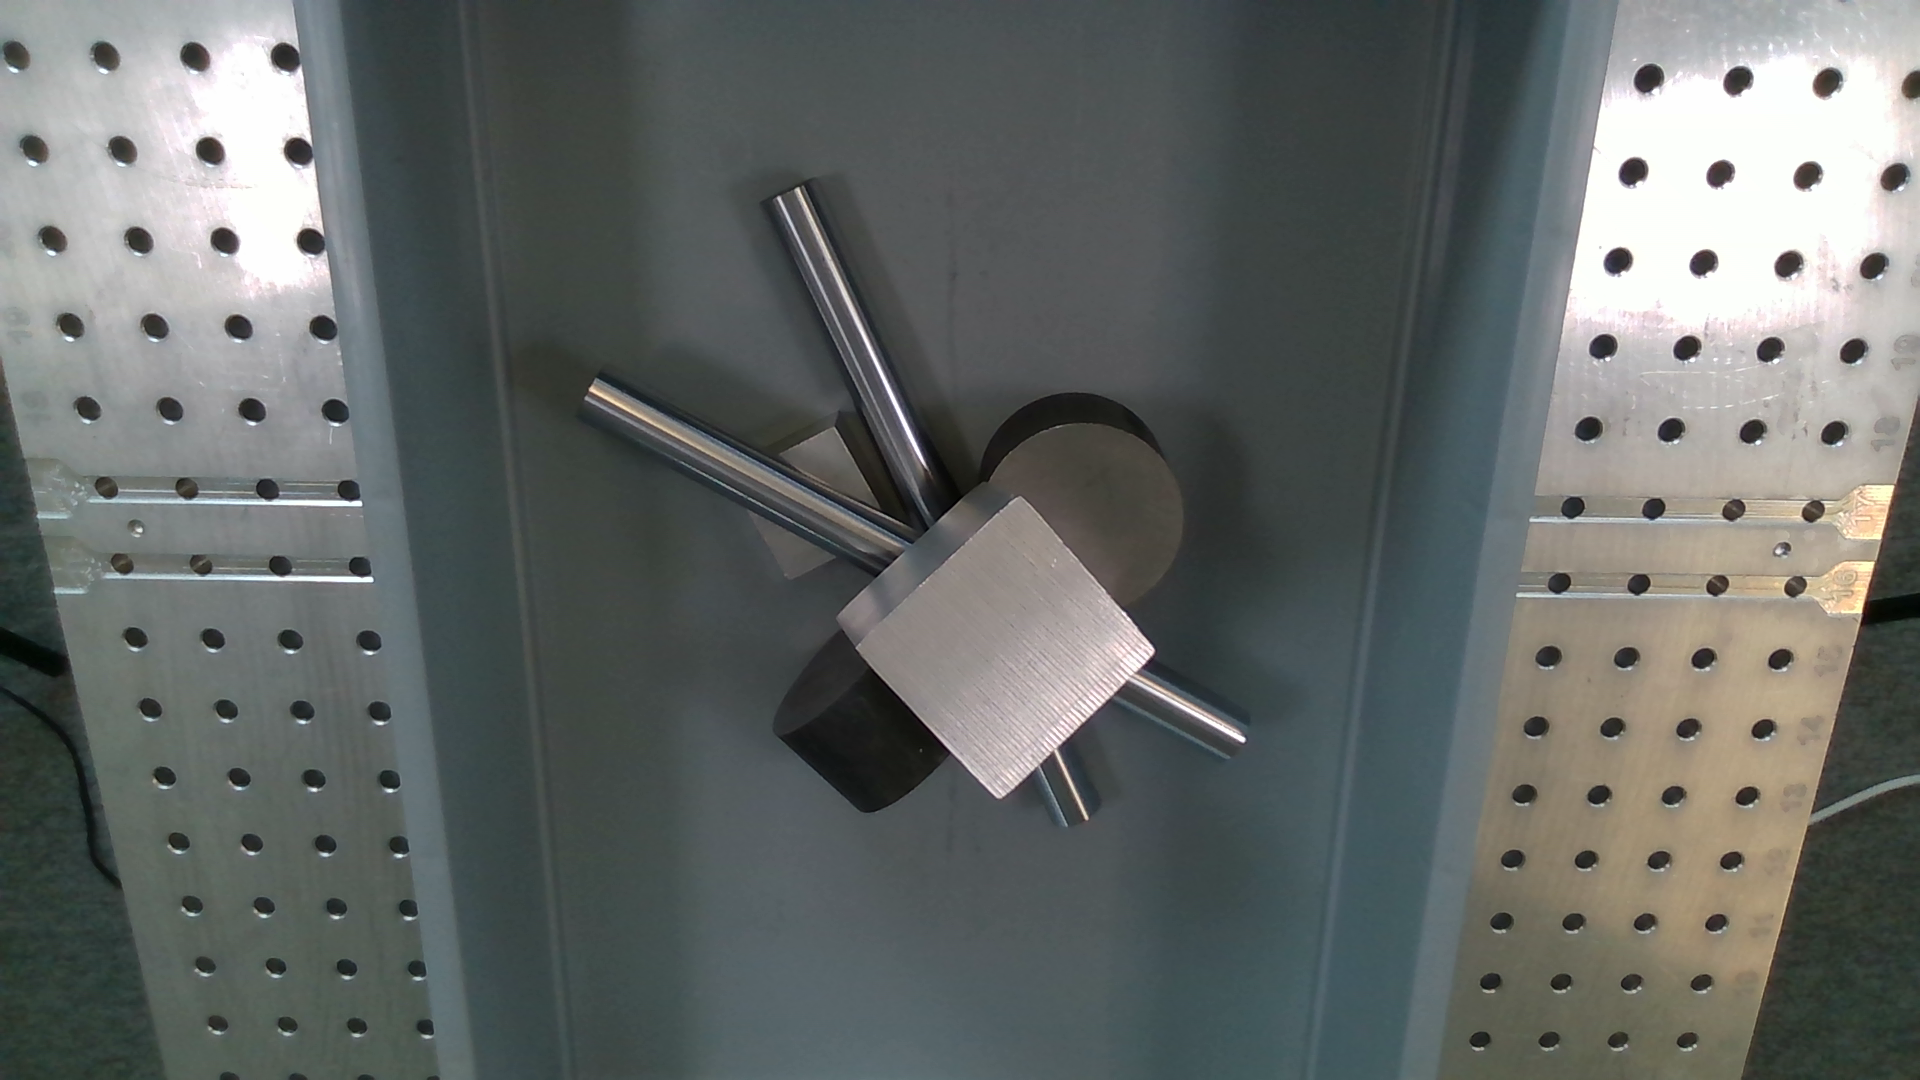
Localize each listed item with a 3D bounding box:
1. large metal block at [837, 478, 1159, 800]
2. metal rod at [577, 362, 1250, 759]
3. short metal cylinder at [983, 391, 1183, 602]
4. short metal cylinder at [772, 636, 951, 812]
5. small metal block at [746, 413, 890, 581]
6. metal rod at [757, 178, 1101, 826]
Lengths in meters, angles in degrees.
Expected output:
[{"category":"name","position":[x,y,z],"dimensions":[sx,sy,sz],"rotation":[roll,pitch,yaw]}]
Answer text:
[{"category":"large metal block","position":[0.012,0.035,0.516],"dimensions":[0.080,0.050,0.080],"rotation":[-42,105,-4]},{"category":"metal rod","position":[-0.013,0.012,0.562],"dimensions":[0.300,0.025,0.025],"rotation":[29,108,-10]},{"category":"short metal cylinder","position":[0.048,-0.016,0.564],"dimensions":[0.080,0.050,0.080],"rotation":[0,110,0]},{"category":"short metal cylinder","position":[-0.033,0.067,0.580],"dimensions":[0.080,0.080,0.050],"rotation":[-41,104,14]},{"category":"small metal block","position":[-0.062,-0.019,0.577],"dimensions":[0.050,0.025,0.050],"rotation":[-27,108,9]},{"category":"metal rod","position":[-0.007,-0.006,0.581],"dimensions":[0.025,0.025,0.301],"rotation":[-22,109,8]}]
